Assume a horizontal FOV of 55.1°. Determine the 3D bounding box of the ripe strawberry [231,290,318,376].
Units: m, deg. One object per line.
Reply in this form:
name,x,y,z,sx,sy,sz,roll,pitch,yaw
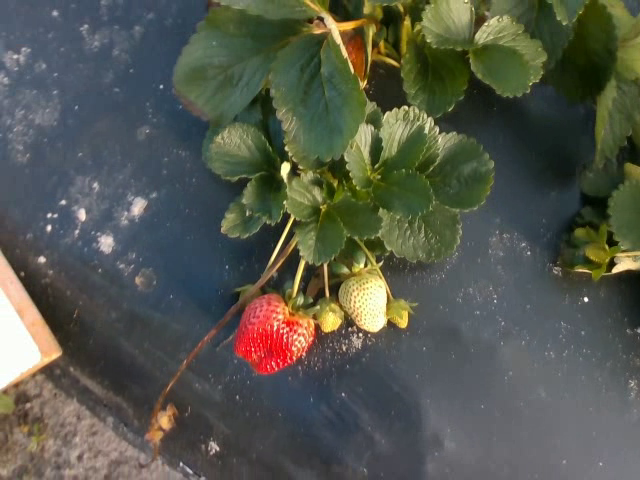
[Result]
ripe strawberry,-0.031,0.062,0.377,0.047,0.050,0.034,38,5,5
